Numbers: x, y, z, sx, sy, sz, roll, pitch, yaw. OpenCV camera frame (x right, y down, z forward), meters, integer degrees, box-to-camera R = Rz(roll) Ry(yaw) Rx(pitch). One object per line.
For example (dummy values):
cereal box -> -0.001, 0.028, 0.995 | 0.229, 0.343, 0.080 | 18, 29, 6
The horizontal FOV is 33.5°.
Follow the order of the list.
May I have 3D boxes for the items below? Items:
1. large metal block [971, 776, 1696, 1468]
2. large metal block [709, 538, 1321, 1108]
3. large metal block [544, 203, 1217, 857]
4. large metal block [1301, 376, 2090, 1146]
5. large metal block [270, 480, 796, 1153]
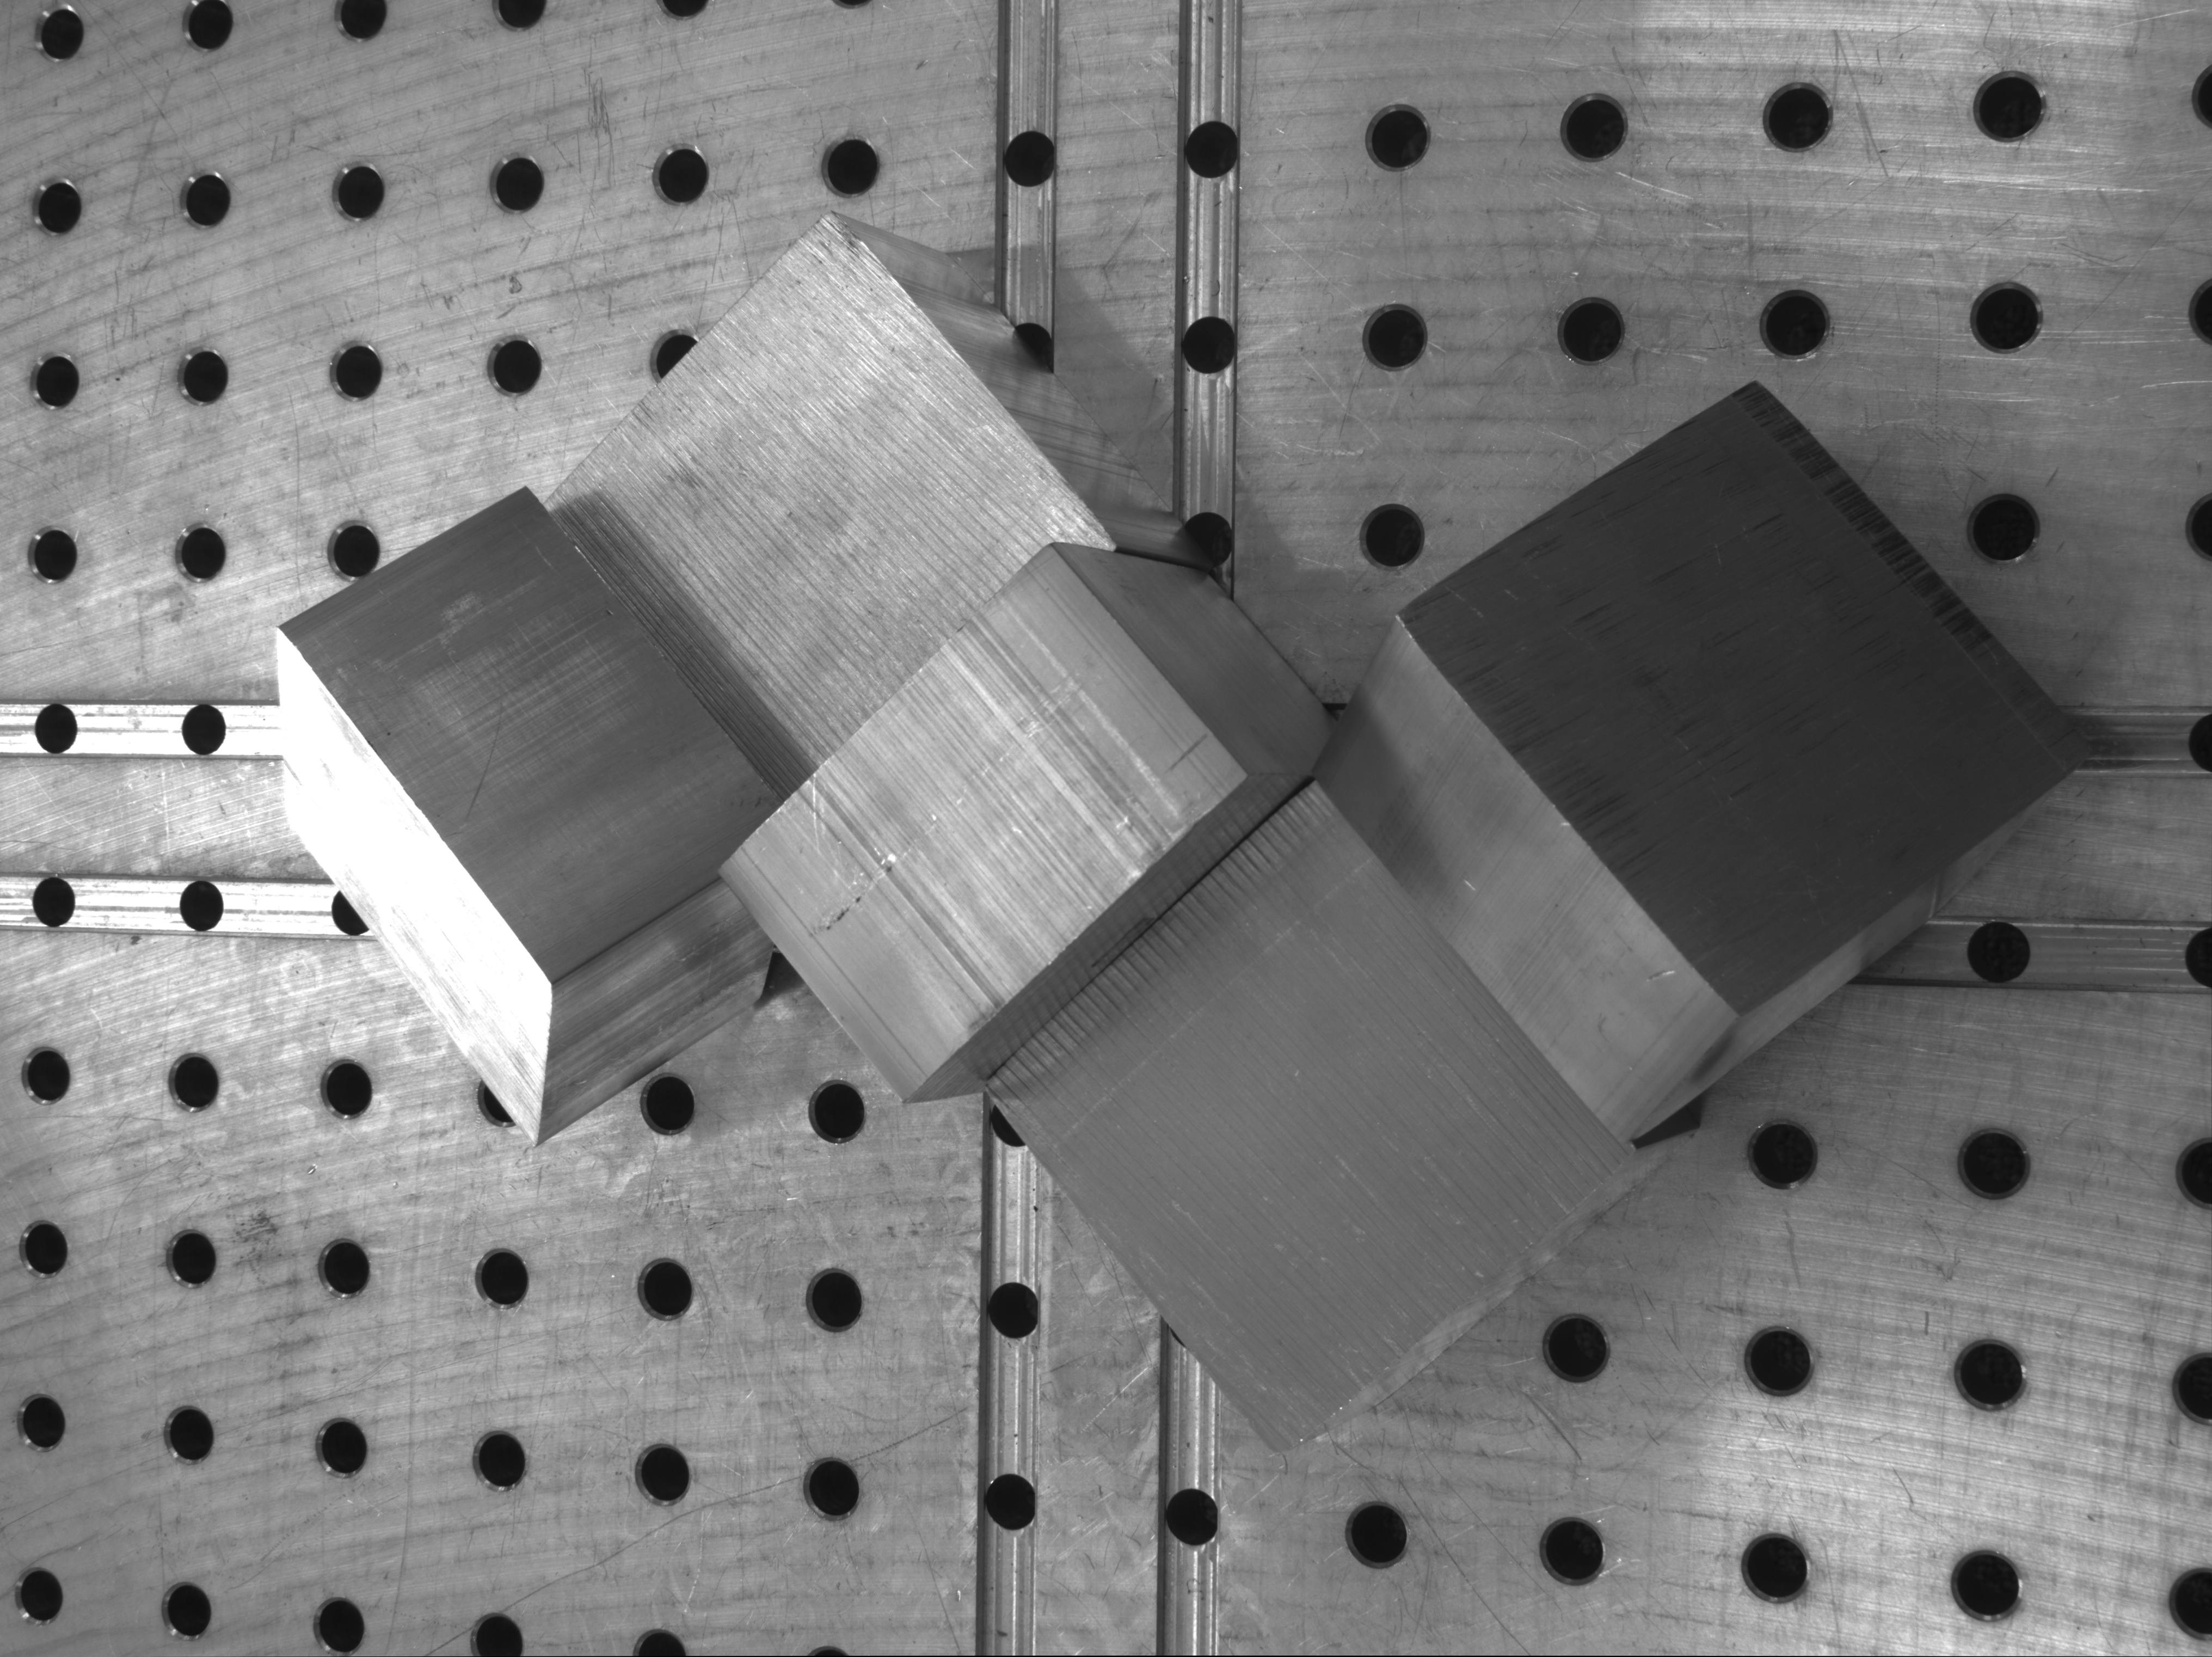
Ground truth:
large metal block -> 0.039, 0.048, 0.622 | 0.080, 0.050, 0.080 | -43, 75, 15
large metal block -> -0.008, -0.001, 0.623 | 0.080, 0.080, 0.050 | -44, 77, 15
large metal block -> -0.042, -0.051, 0.651 | 0.080, 0.050, 0.080 | -44, 77, 16
large metal block -> 0.092, -0.011, 0.580 | 0.080, 0.050, 0.080 | -34, 76, -24
large metal block -> -0.103, -0.001, 0.650 | 0.050, 0.080, 0.080 | -34, 76, -23
